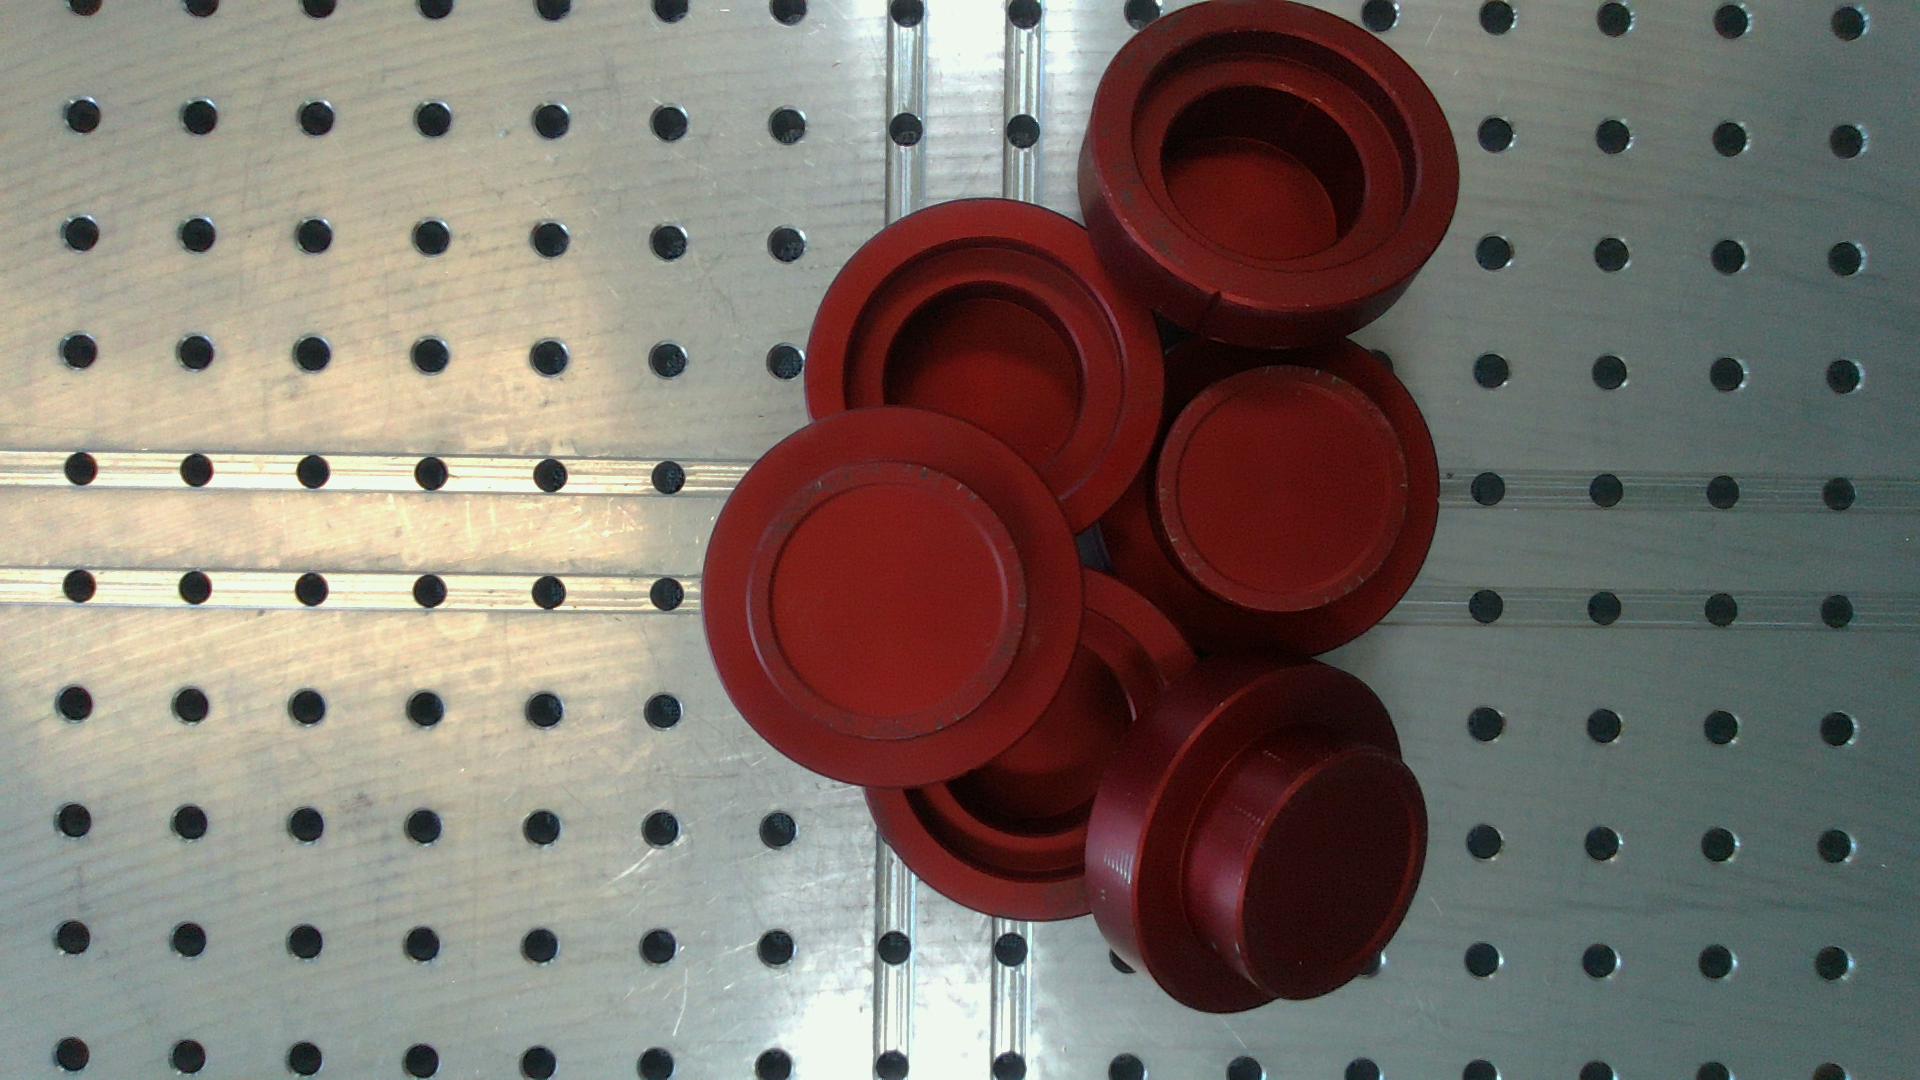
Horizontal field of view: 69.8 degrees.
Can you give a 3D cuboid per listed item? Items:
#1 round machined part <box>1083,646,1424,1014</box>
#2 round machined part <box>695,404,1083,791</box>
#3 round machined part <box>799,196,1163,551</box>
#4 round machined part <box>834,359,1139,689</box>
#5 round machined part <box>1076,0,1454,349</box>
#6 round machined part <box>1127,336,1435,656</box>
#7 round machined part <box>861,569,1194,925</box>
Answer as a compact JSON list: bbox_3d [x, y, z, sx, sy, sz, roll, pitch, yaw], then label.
[{"bbox_3d":[0.084,0.081,0.365,0.098,0.042,0.098,-9,108,-31],"label":"round machined part"},{"bbox_3d":[-0.018,0.014,0.347,0.098,0.042,0.098,0,90,0],"label":"round machined part"},{"bbox_3d":[0.006,-0.043,0.389,0.098,0.042,0.098,0,90,0],"label":"round machined part"},{"bbox_3d":[-0.001,0.001,0.389,0.098,0.042,0.098,0,90,0],"label":"round machined part"},{"bbox_3d":[0.080,-0.095,0.378,0.098,0.042,0.098,2,69,-6],"label":"round machined part"},{"bbox_3d":[0.086,-0.014,0.389,0.098,0.042,0.098,0,90,0],"label":"round machined part"},{"bbox_3d":[0.020,0.054,0.389,0.098,0.042,0.098,0,90,0],"label":"round machined part"}]
